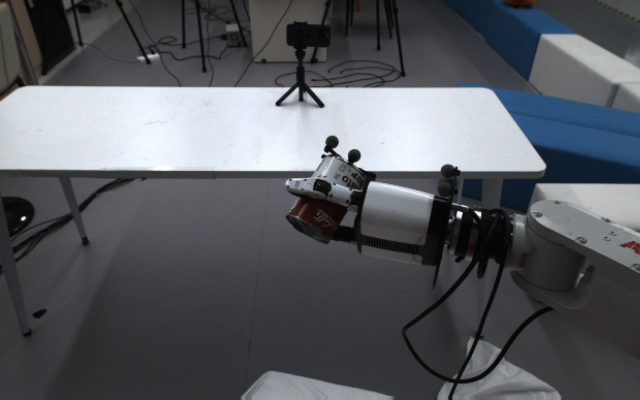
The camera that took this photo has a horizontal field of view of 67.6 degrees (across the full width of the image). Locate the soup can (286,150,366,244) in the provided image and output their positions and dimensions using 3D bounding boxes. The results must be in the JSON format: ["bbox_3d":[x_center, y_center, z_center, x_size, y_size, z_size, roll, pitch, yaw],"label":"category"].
[{"bbox_3d":[0.010,-0.001,0.648,0.067,0.067,0.101,24,73,28],"label":"soup can"}]
